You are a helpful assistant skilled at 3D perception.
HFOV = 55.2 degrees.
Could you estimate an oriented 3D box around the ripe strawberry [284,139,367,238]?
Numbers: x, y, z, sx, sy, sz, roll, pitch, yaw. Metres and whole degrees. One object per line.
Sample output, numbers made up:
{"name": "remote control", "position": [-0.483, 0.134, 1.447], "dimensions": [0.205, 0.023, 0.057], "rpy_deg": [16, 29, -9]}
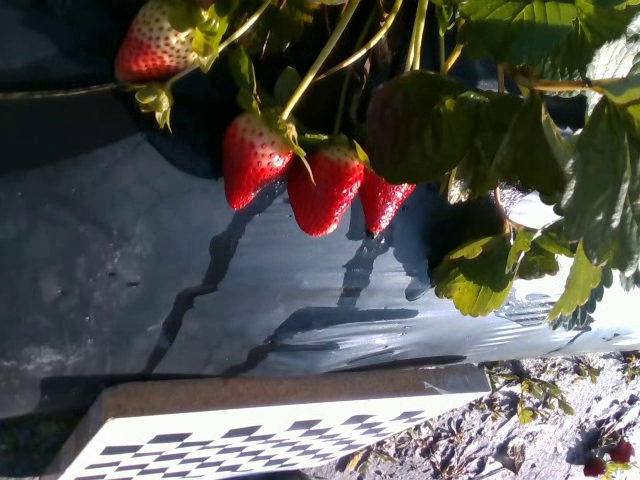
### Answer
{"name": "ripe strawberry", "position": [0.001, -0.019, 0.239], "dimensions": [0.030, 0.039, 0.036], "rpy_deg": [14, -12, -36]}

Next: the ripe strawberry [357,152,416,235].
{"name": "ripe strawberry", "position": [0.026, -0.019, 0.254], "dimensions": [0.035, 0.041, 0.033], "rpy_deg": [5, 6, -24]}

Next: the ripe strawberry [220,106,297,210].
{"name": "ripe strawberry", "position": [-0.025, -0.027, 0.229], "dimensions": [0.031, 0.046, 0.023], "rpy_deg": [7, 41, -28]}
